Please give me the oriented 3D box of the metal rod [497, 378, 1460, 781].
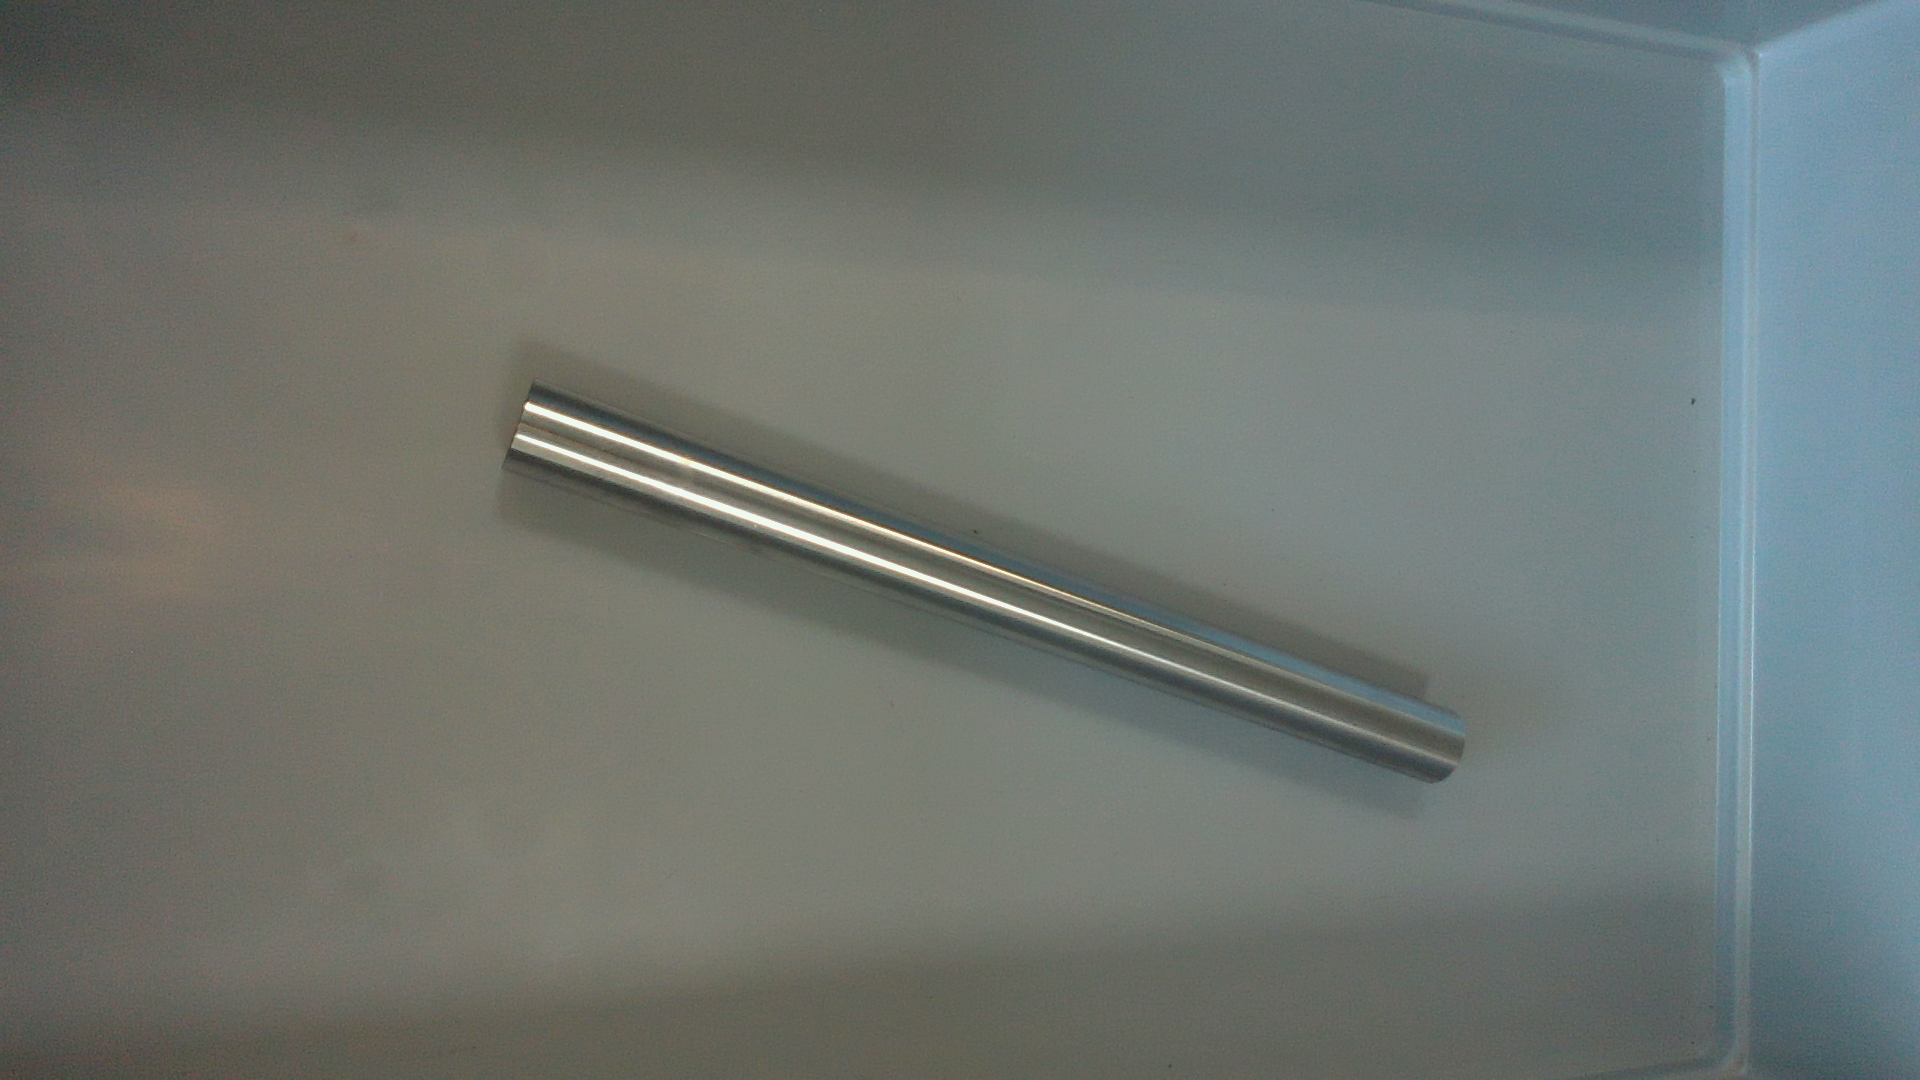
[{"bbox_3d":[0.020,0.018,0.399,0.301,0.025,0.025,20,83,-19],"label":"metal rod"}]
